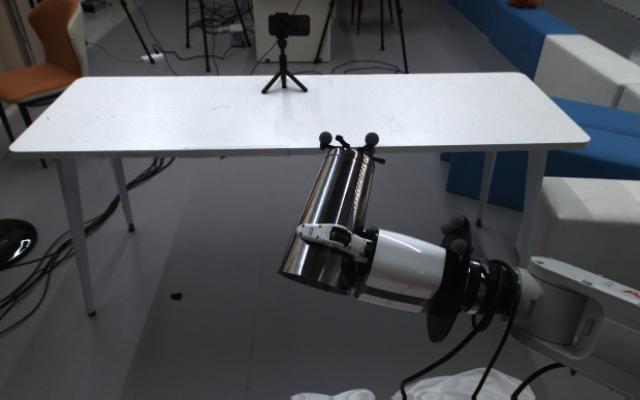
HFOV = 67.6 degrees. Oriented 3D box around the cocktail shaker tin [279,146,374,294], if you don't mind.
[{"bbox_3d":[0.016,0.025,0.611,0.093,0.093,0.170,13,74,15],"label":"cocktail shaker tin"}]
